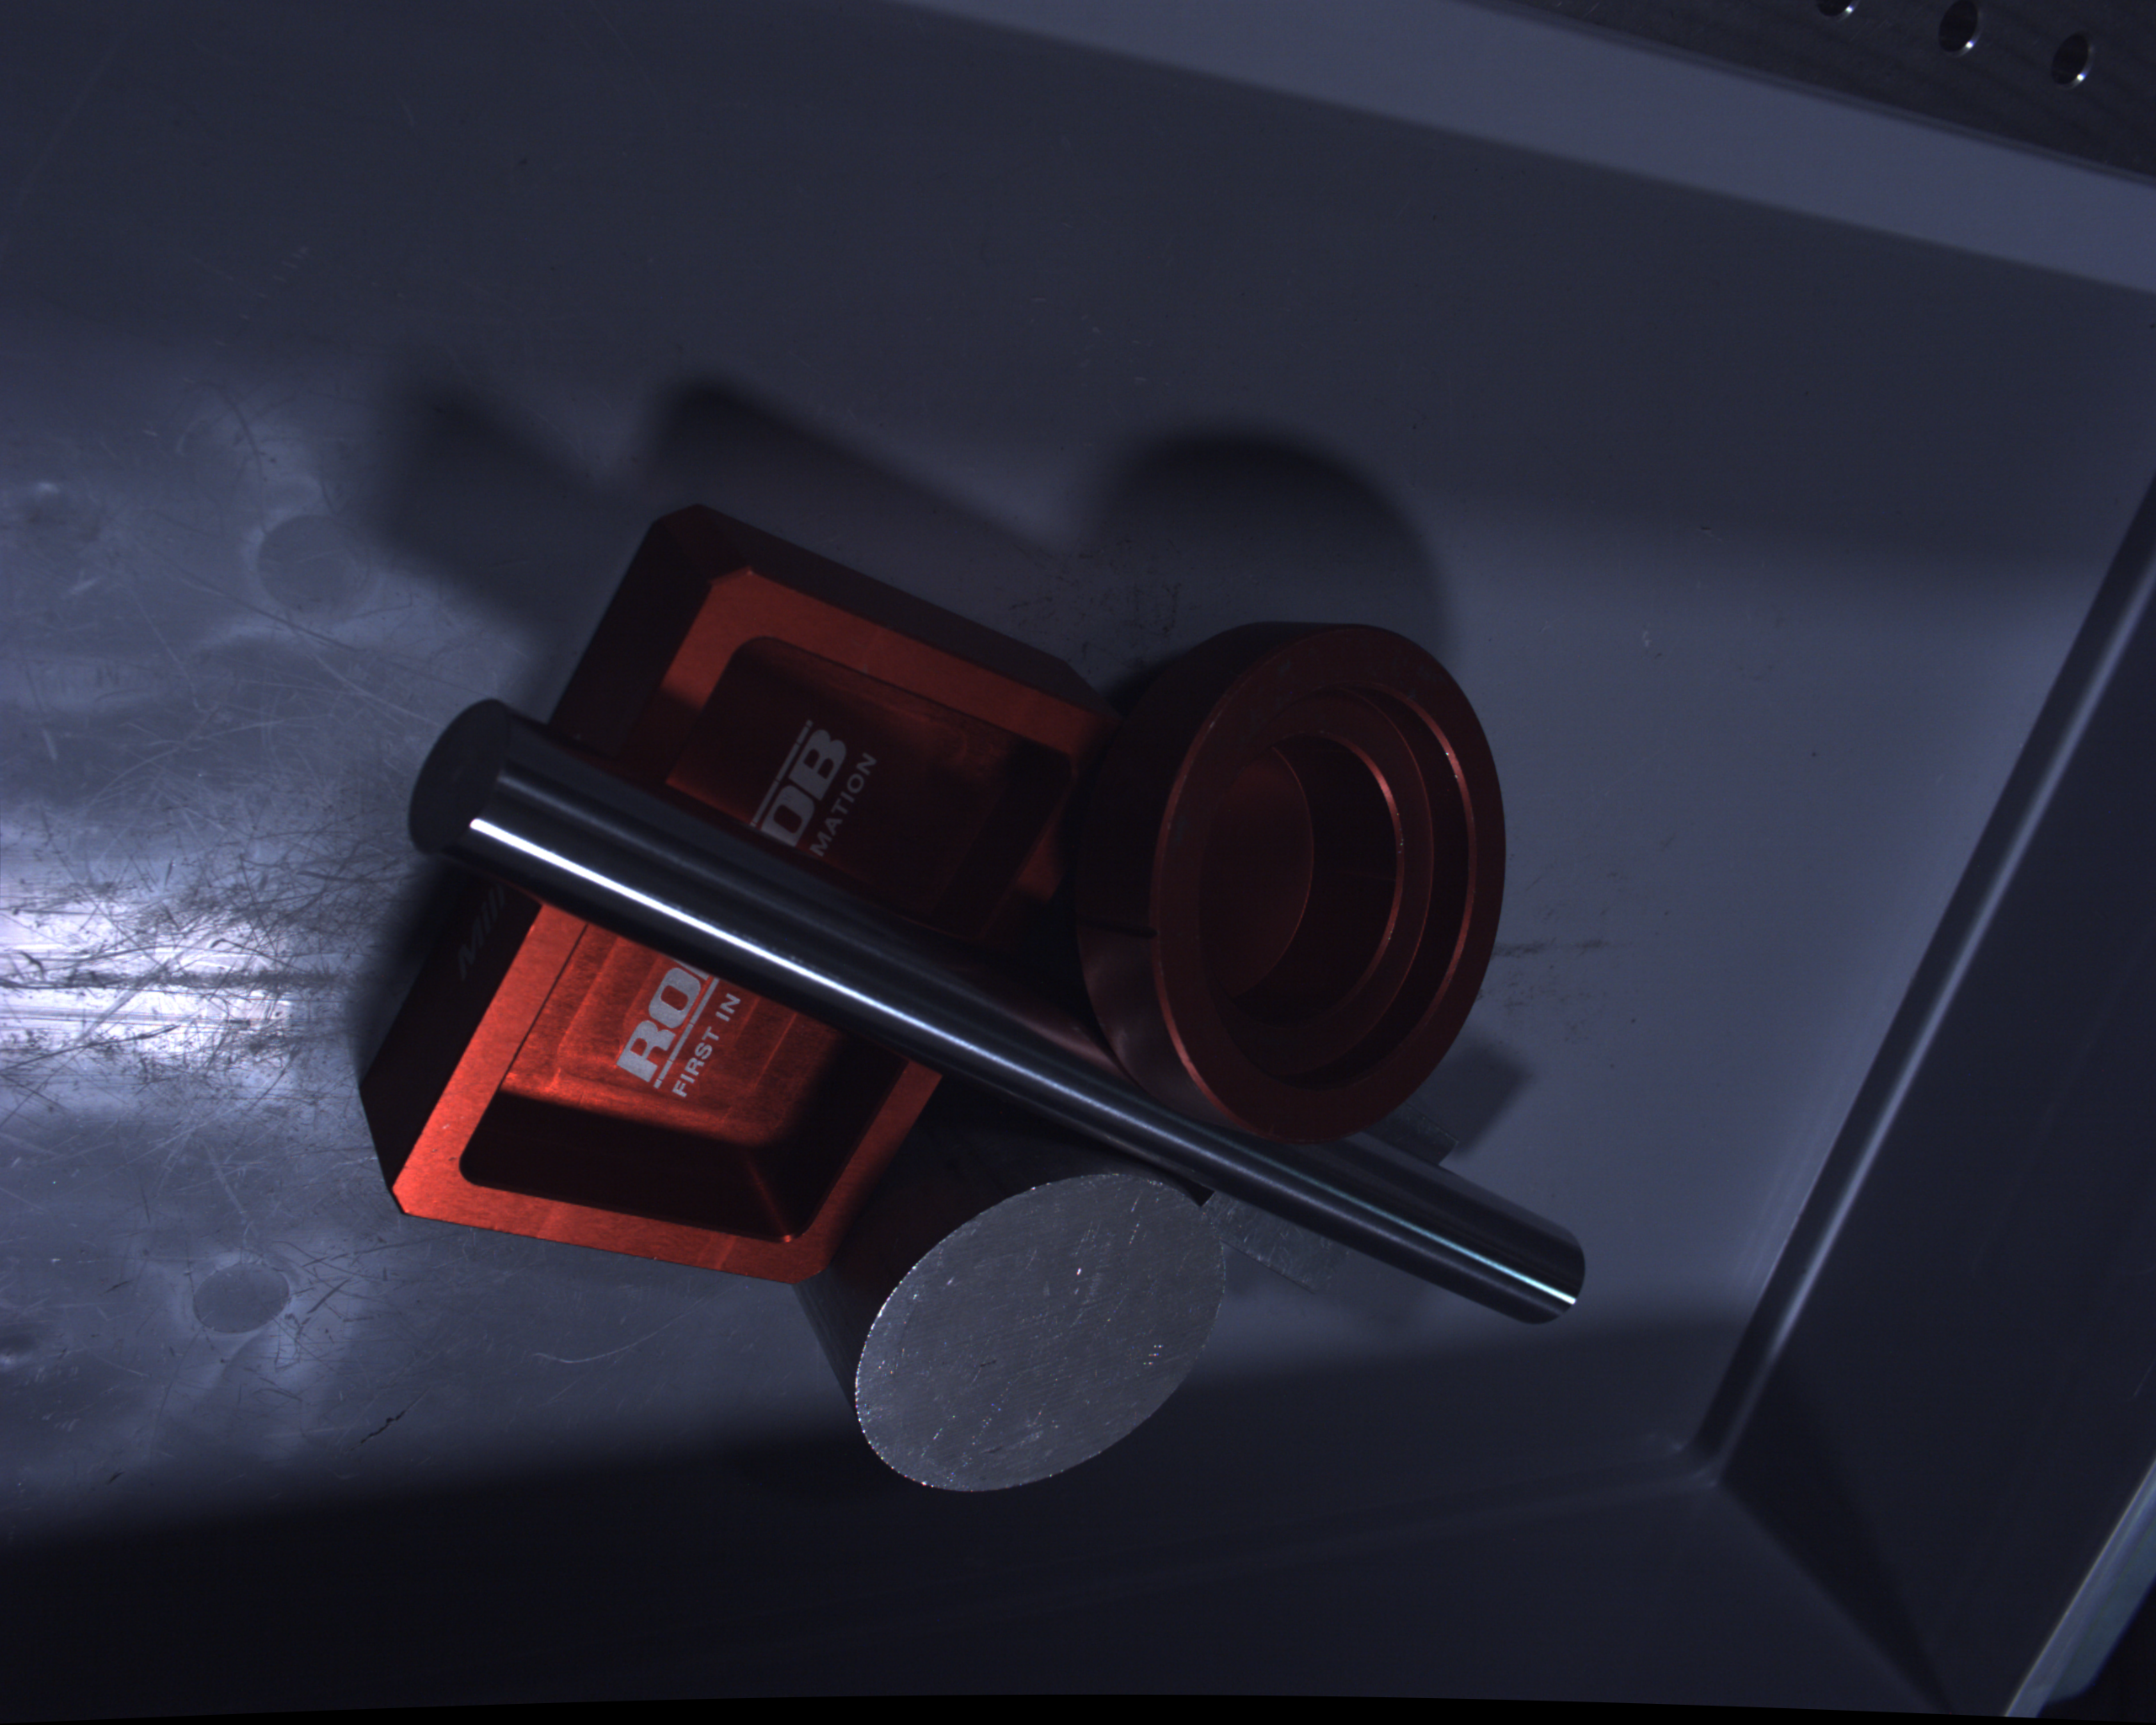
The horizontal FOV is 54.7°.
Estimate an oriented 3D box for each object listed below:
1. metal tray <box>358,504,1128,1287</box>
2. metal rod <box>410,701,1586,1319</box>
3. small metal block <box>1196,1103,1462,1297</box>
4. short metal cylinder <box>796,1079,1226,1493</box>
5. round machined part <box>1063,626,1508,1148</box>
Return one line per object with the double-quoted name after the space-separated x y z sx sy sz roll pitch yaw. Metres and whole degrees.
-0.060 0.011 0.378 0.091 0.030 0.129 20 108 -36 "metal tray"
0.010 0.043 0.403 0.301 0.025 0.025 29 102 -40 "metal rod"
0.051 0.065 0.476 0.050 0.025 0.050 -49 129 6 "small metal block"
-0.017 0.083 0.433 0.081 0.050 0.079 -14 125 -21 "short metal cylinder"
0.036 0.003 0.403 0.099 0.042 0.097 -7 101 -41 "round machined part"
